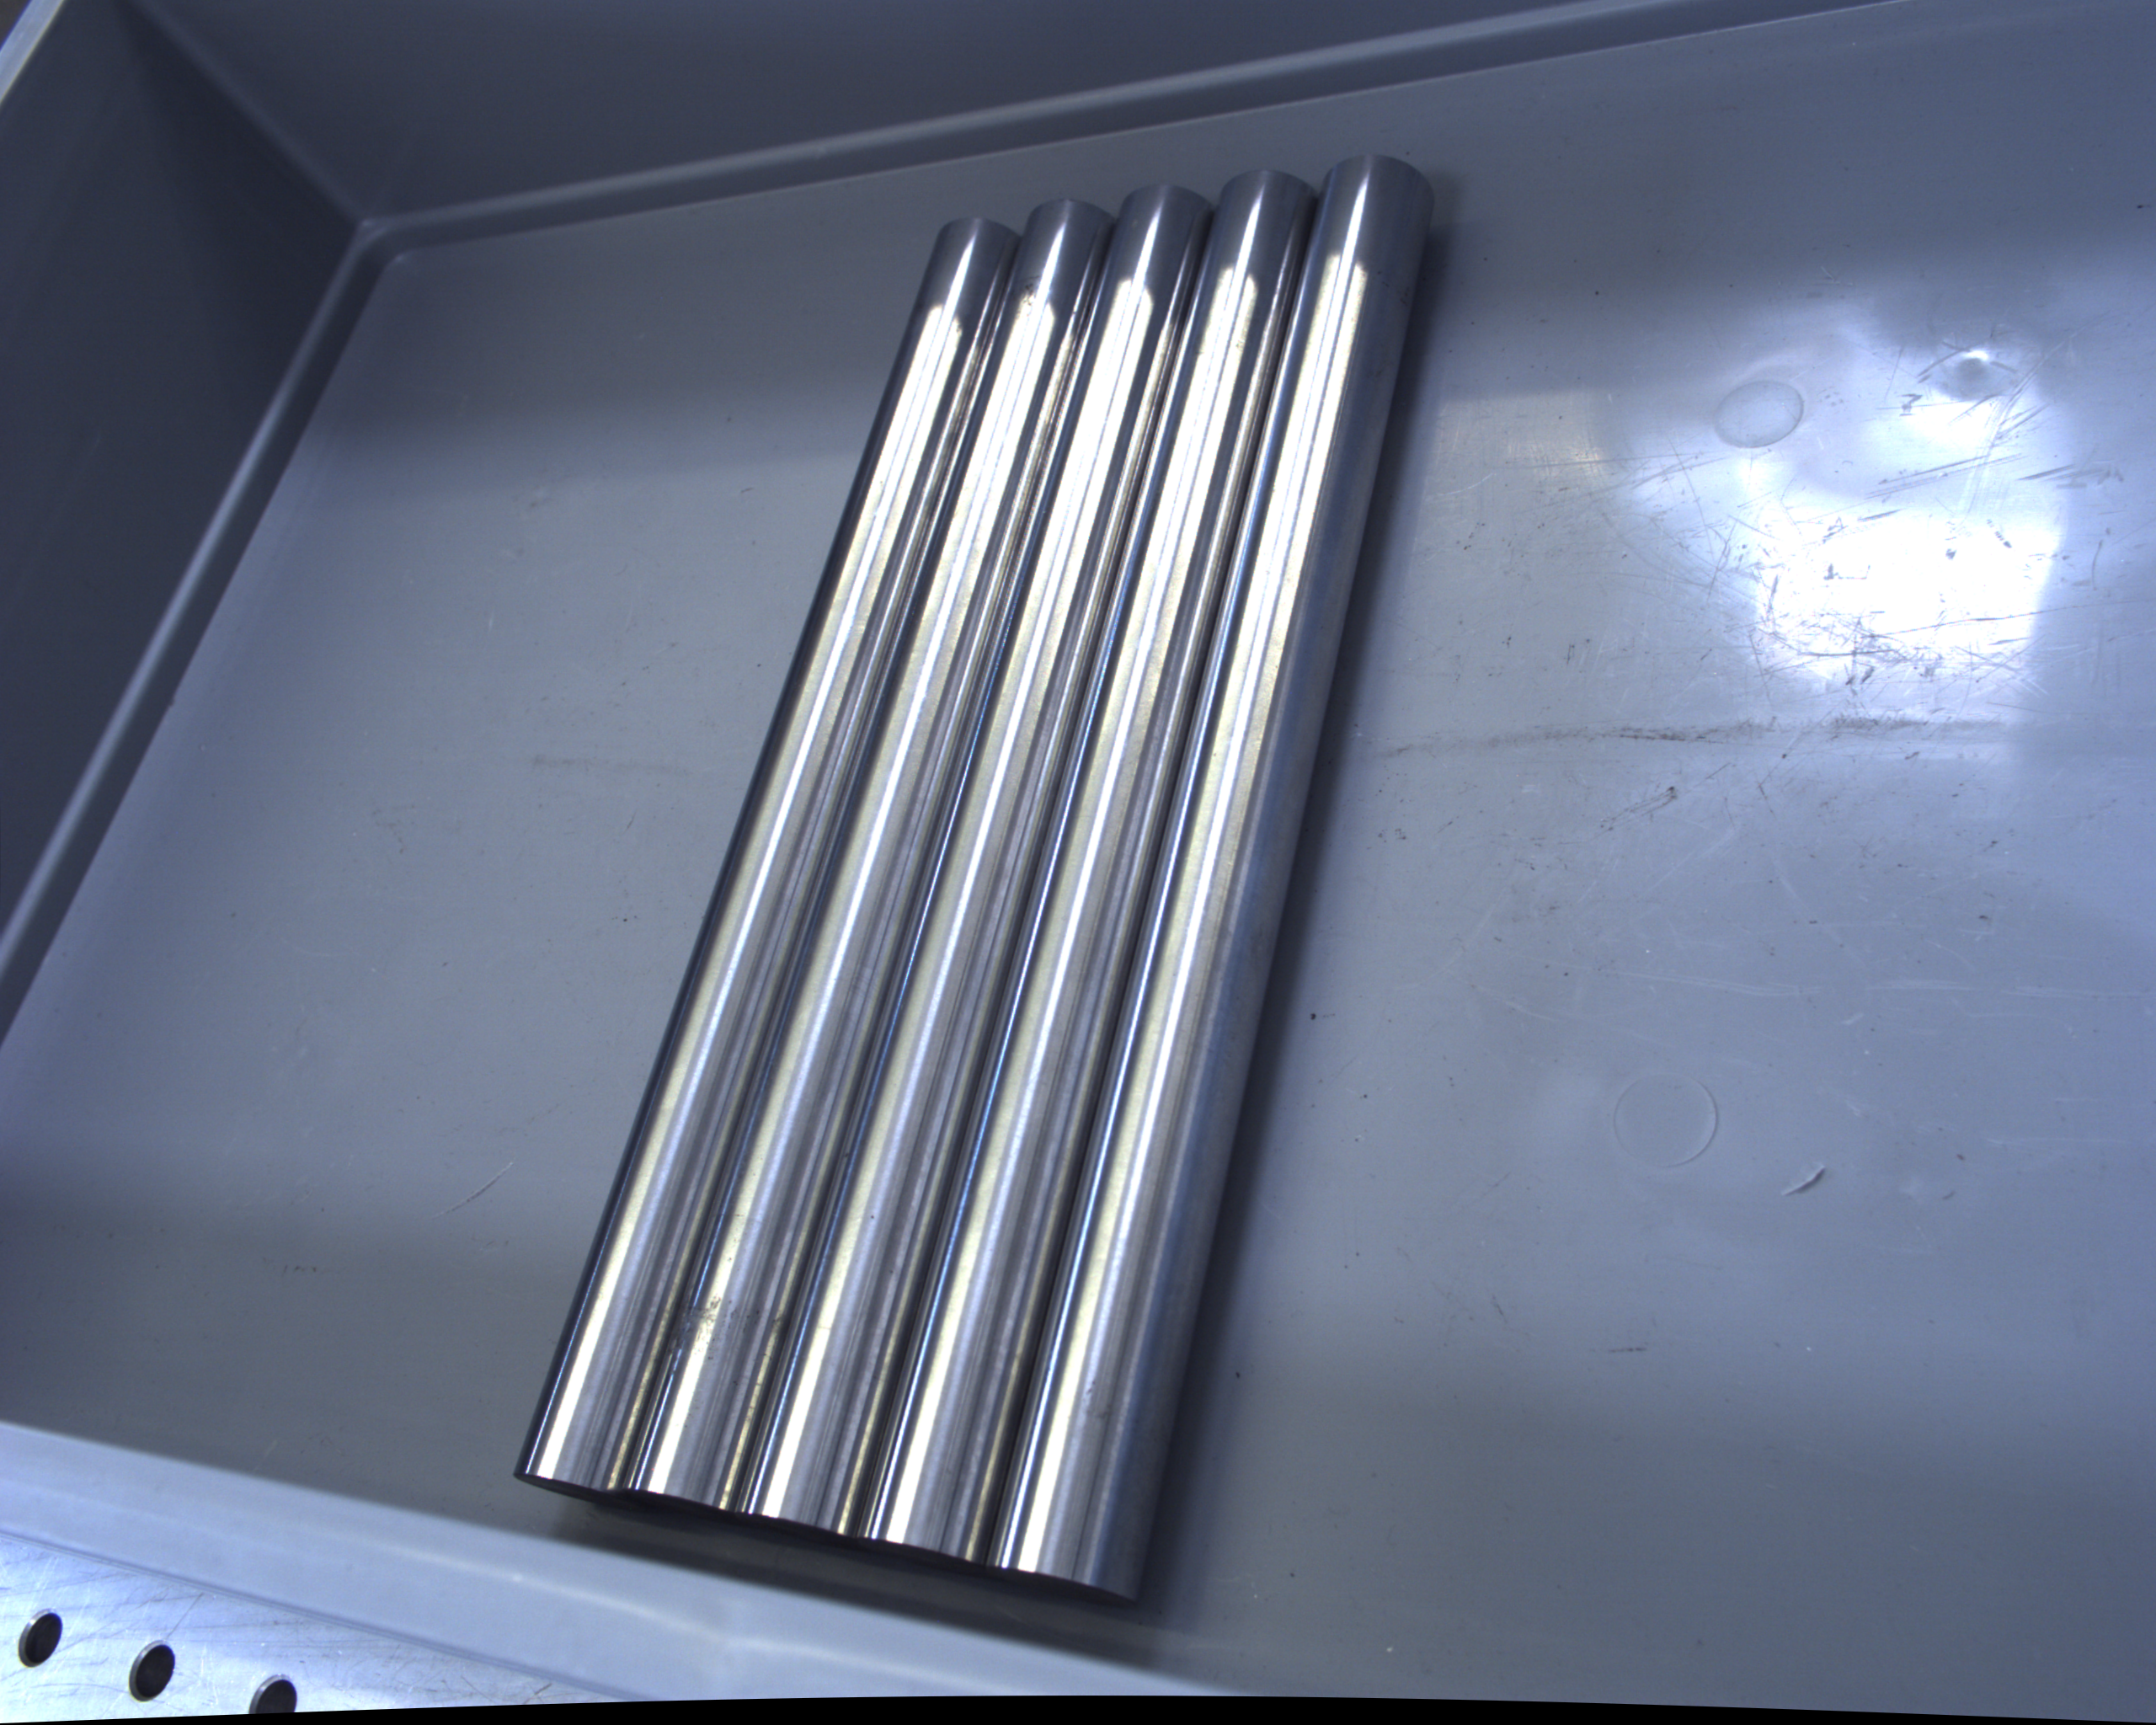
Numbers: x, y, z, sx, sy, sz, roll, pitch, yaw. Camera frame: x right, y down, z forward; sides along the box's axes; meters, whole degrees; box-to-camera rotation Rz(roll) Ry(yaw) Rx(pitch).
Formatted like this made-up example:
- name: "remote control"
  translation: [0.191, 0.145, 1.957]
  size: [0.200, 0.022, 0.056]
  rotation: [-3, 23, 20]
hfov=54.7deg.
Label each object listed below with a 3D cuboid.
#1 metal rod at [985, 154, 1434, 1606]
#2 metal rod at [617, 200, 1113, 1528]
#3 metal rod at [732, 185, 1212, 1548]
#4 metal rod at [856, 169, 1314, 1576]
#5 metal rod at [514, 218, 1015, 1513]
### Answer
- name: "metal rod"
  translation: [0.032, -0.015, 0.397]
  size: [0.025, 0.025, 0.300]
  rotation: [0, 62, 28]
- name: "metal rod"
  translation: [-0.035, -0.017, 0.433]
  size: [0.025, 0.025, 0.300]
  rotation: [0, 62, 28]
- name: "metal rod"
  translation: [-0.013, -0.016, 0.421]
  size: [0.025, 0.025, 0.300]
  rotation: [0, 62, 28]
- name: "metal rod"
  translation: [0.010, -0.016, 0.409]
  size: [0.025, 0.025, 0.300]
  rotation: [0, 62, 28]
- name: "metal rod"
  translation: [-0.057, -0.016, 0.444]
  size: [0.025, 0.025, 0.300]
  rotation: [0, 62, 28]
